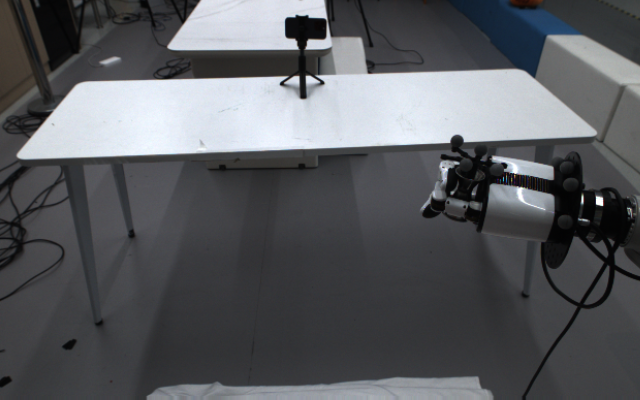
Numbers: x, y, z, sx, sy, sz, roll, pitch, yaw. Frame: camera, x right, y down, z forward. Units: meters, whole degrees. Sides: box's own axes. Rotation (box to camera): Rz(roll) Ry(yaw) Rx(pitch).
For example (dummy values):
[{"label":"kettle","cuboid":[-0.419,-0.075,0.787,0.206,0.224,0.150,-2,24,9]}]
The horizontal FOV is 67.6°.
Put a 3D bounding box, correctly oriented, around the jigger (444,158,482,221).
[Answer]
[{"label":"jigger","cuboid":[0.201,-0.009,0.678,0.043,0.071,0.043,7,32,-4]}]
